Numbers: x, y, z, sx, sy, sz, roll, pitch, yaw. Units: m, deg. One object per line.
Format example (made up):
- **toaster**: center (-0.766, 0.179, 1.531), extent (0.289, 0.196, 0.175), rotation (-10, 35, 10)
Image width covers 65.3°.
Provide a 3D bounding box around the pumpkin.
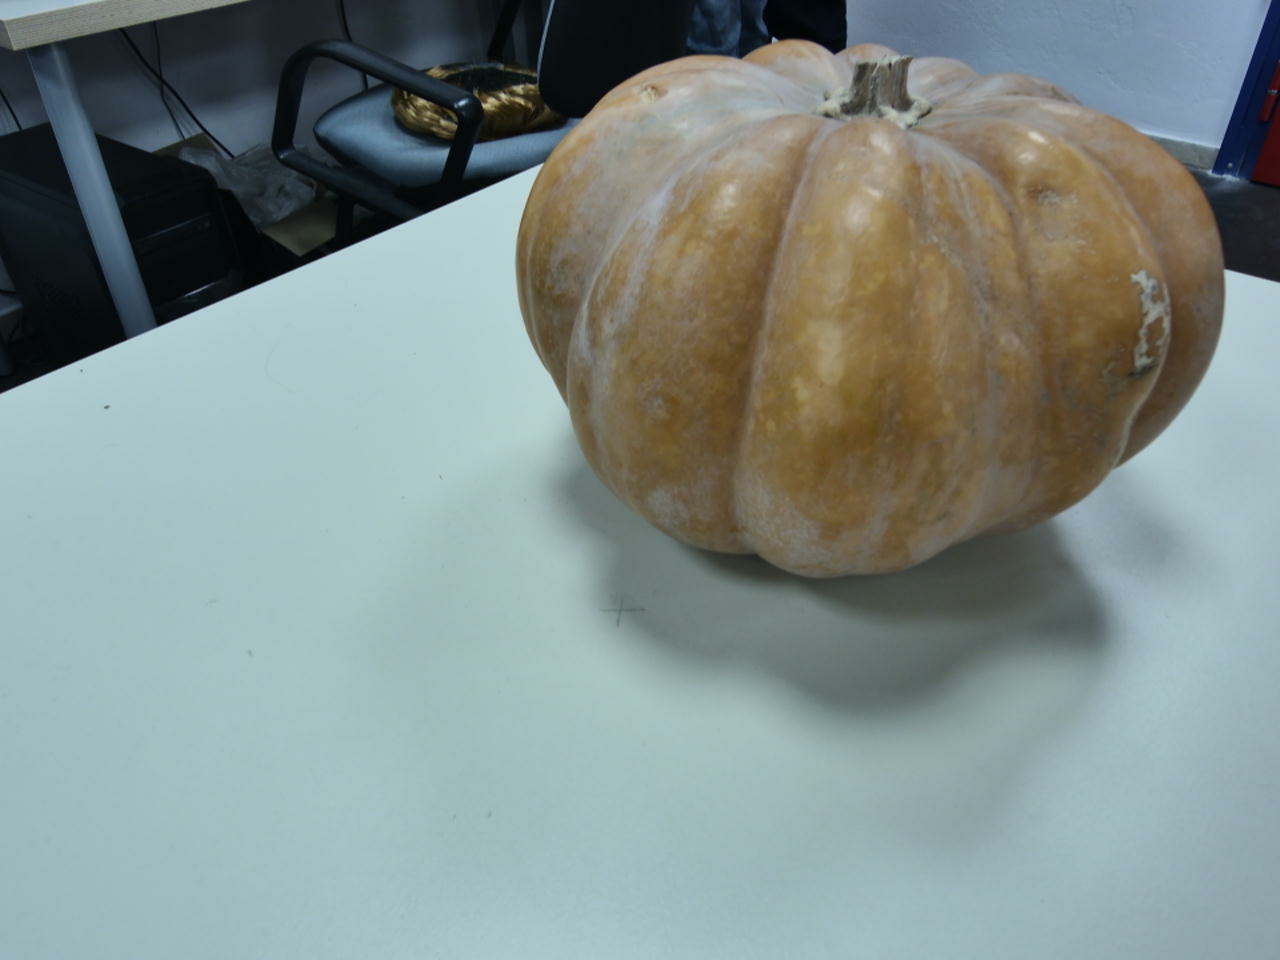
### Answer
- **pumpkin**: center (0.081, -0.078, 0.411), extent (0.277, 0.181, 0.277), rotation (0, 37, 0)
